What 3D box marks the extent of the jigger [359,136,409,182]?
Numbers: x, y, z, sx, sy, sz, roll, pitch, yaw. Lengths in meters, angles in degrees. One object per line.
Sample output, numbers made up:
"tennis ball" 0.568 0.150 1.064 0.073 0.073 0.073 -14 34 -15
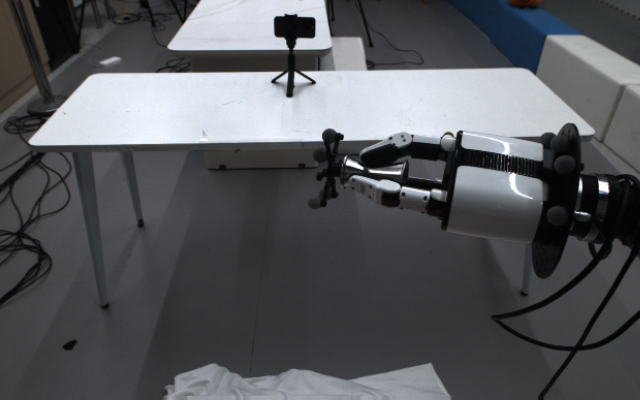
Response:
"jigger" 0.064 -0.032 0.539 0.071 0.043 0.043 8 35 17
